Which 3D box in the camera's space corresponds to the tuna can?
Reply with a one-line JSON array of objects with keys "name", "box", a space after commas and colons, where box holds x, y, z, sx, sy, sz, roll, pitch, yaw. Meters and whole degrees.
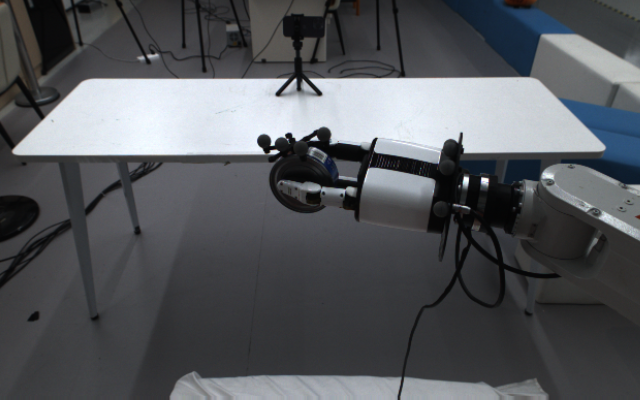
[{"name": "tuna can", "box": [-0.017, -0.023, 0.622, 0.085, 0.085, 0.034, 10, 33, 11]}]
